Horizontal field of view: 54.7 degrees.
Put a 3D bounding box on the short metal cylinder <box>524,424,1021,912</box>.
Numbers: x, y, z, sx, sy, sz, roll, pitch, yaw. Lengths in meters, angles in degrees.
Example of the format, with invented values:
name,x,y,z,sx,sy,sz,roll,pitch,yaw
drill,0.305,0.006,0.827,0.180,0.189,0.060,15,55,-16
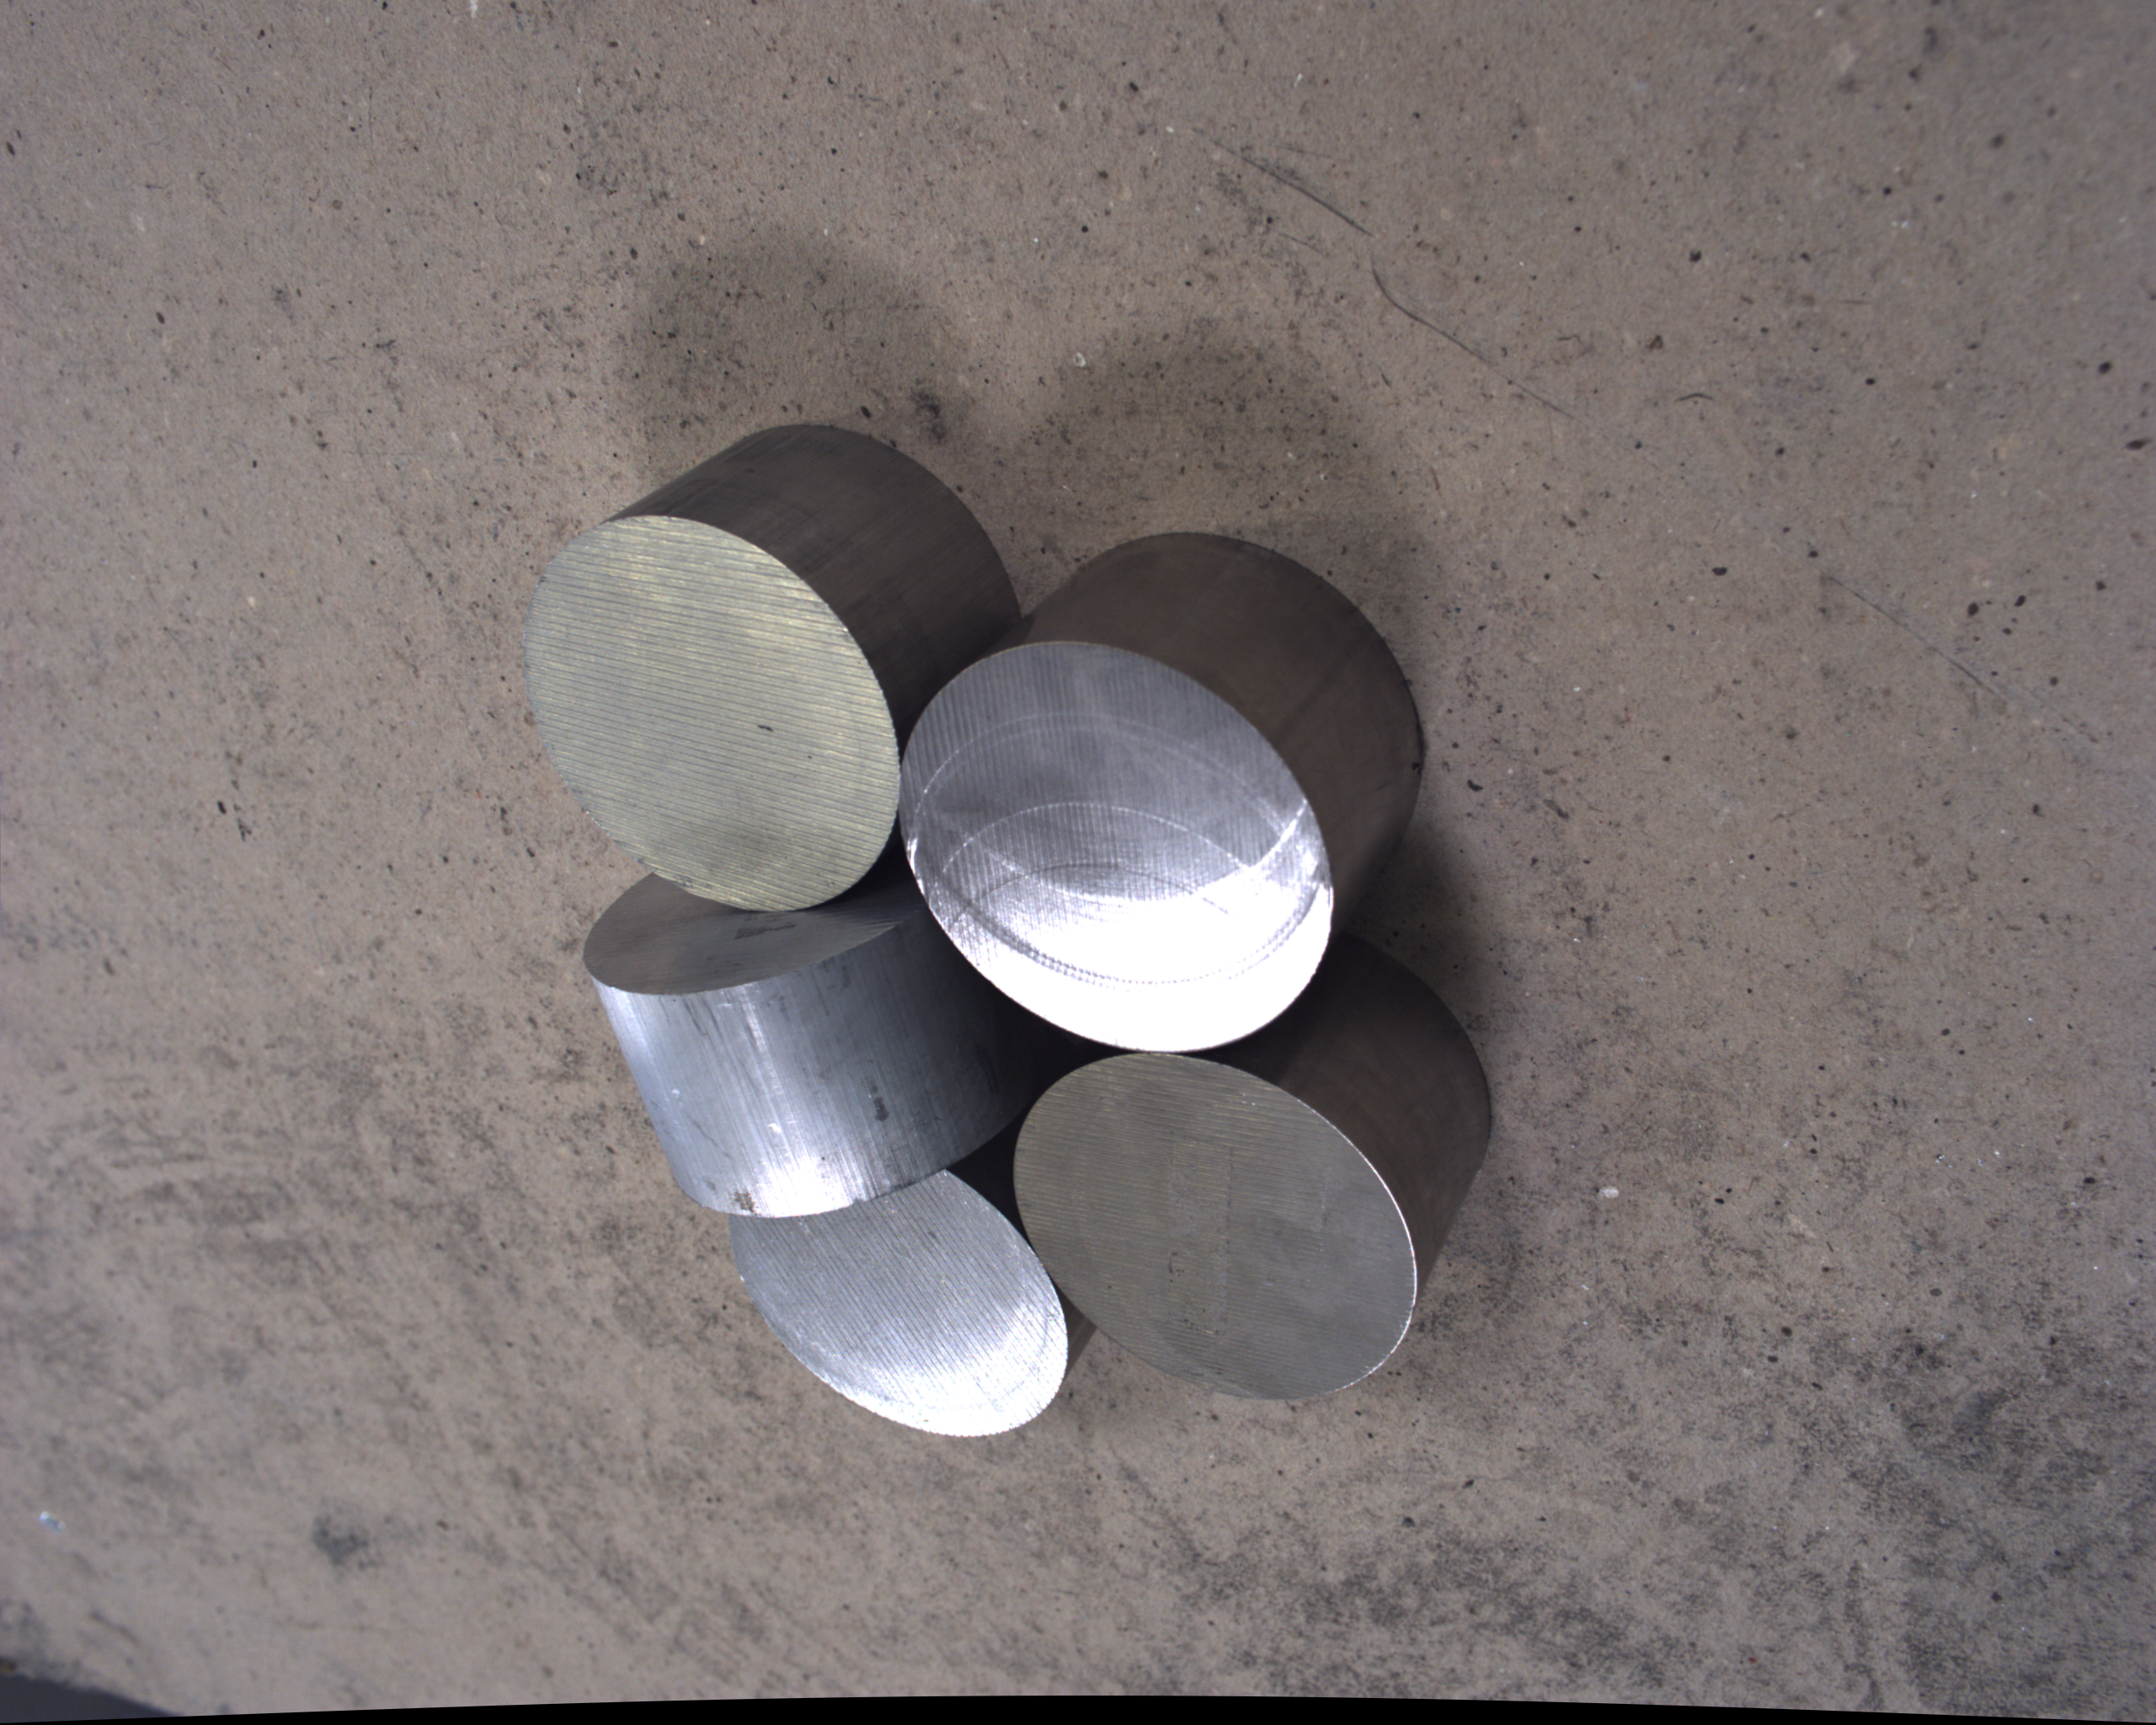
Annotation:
name,x,y,z,sx,sy,sz,roll,pitch,yaw
short metal cylinder,-0.057,-0.037,0.399,0.080,0.050,0.079,14,125,21

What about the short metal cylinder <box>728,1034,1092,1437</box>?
name,x,y,z,sx,sy,sz,roll,pitch,yaw
short metal cylinder,-0.028,0.077,0.455,0.080,0.050,0.079,14,125,21

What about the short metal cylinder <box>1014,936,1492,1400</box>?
name,x,y,z,sx,sy,sz,roll,pitch,yaw
short metal cylinder,0.035,0.057,0.409,0.080,0.050,0.079,14,125,21

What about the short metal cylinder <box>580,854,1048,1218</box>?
name,x,y,z,sx,sy,sz,roll,pitch,yaw
short metal cylinder,-0.051,0.026,0.416,0.080,0.080,0.050,-3,117,29

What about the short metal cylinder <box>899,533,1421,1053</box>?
name,x,y,z,sx,sy,sz,roll,pitch,yaw
short metal cylinder,0.015,-0.013,0.375,0.080,0.050,0.079,13,125,20
